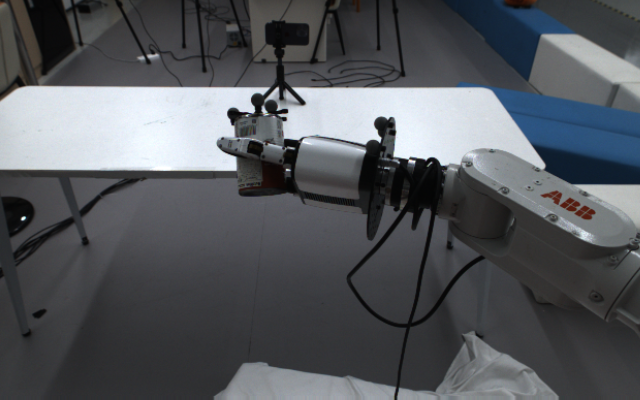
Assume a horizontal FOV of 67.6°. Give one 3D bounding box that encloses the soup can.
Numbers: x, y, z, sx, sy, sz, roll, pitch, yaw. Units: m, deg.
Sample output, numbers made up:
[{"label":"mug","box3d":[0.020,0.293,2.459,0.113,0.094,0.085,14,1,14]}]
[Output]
[{"label":"soup can","box3d":[-0.079,-0.058,0.653,0.067,0.101,0.067,-5,-5,0]}]
